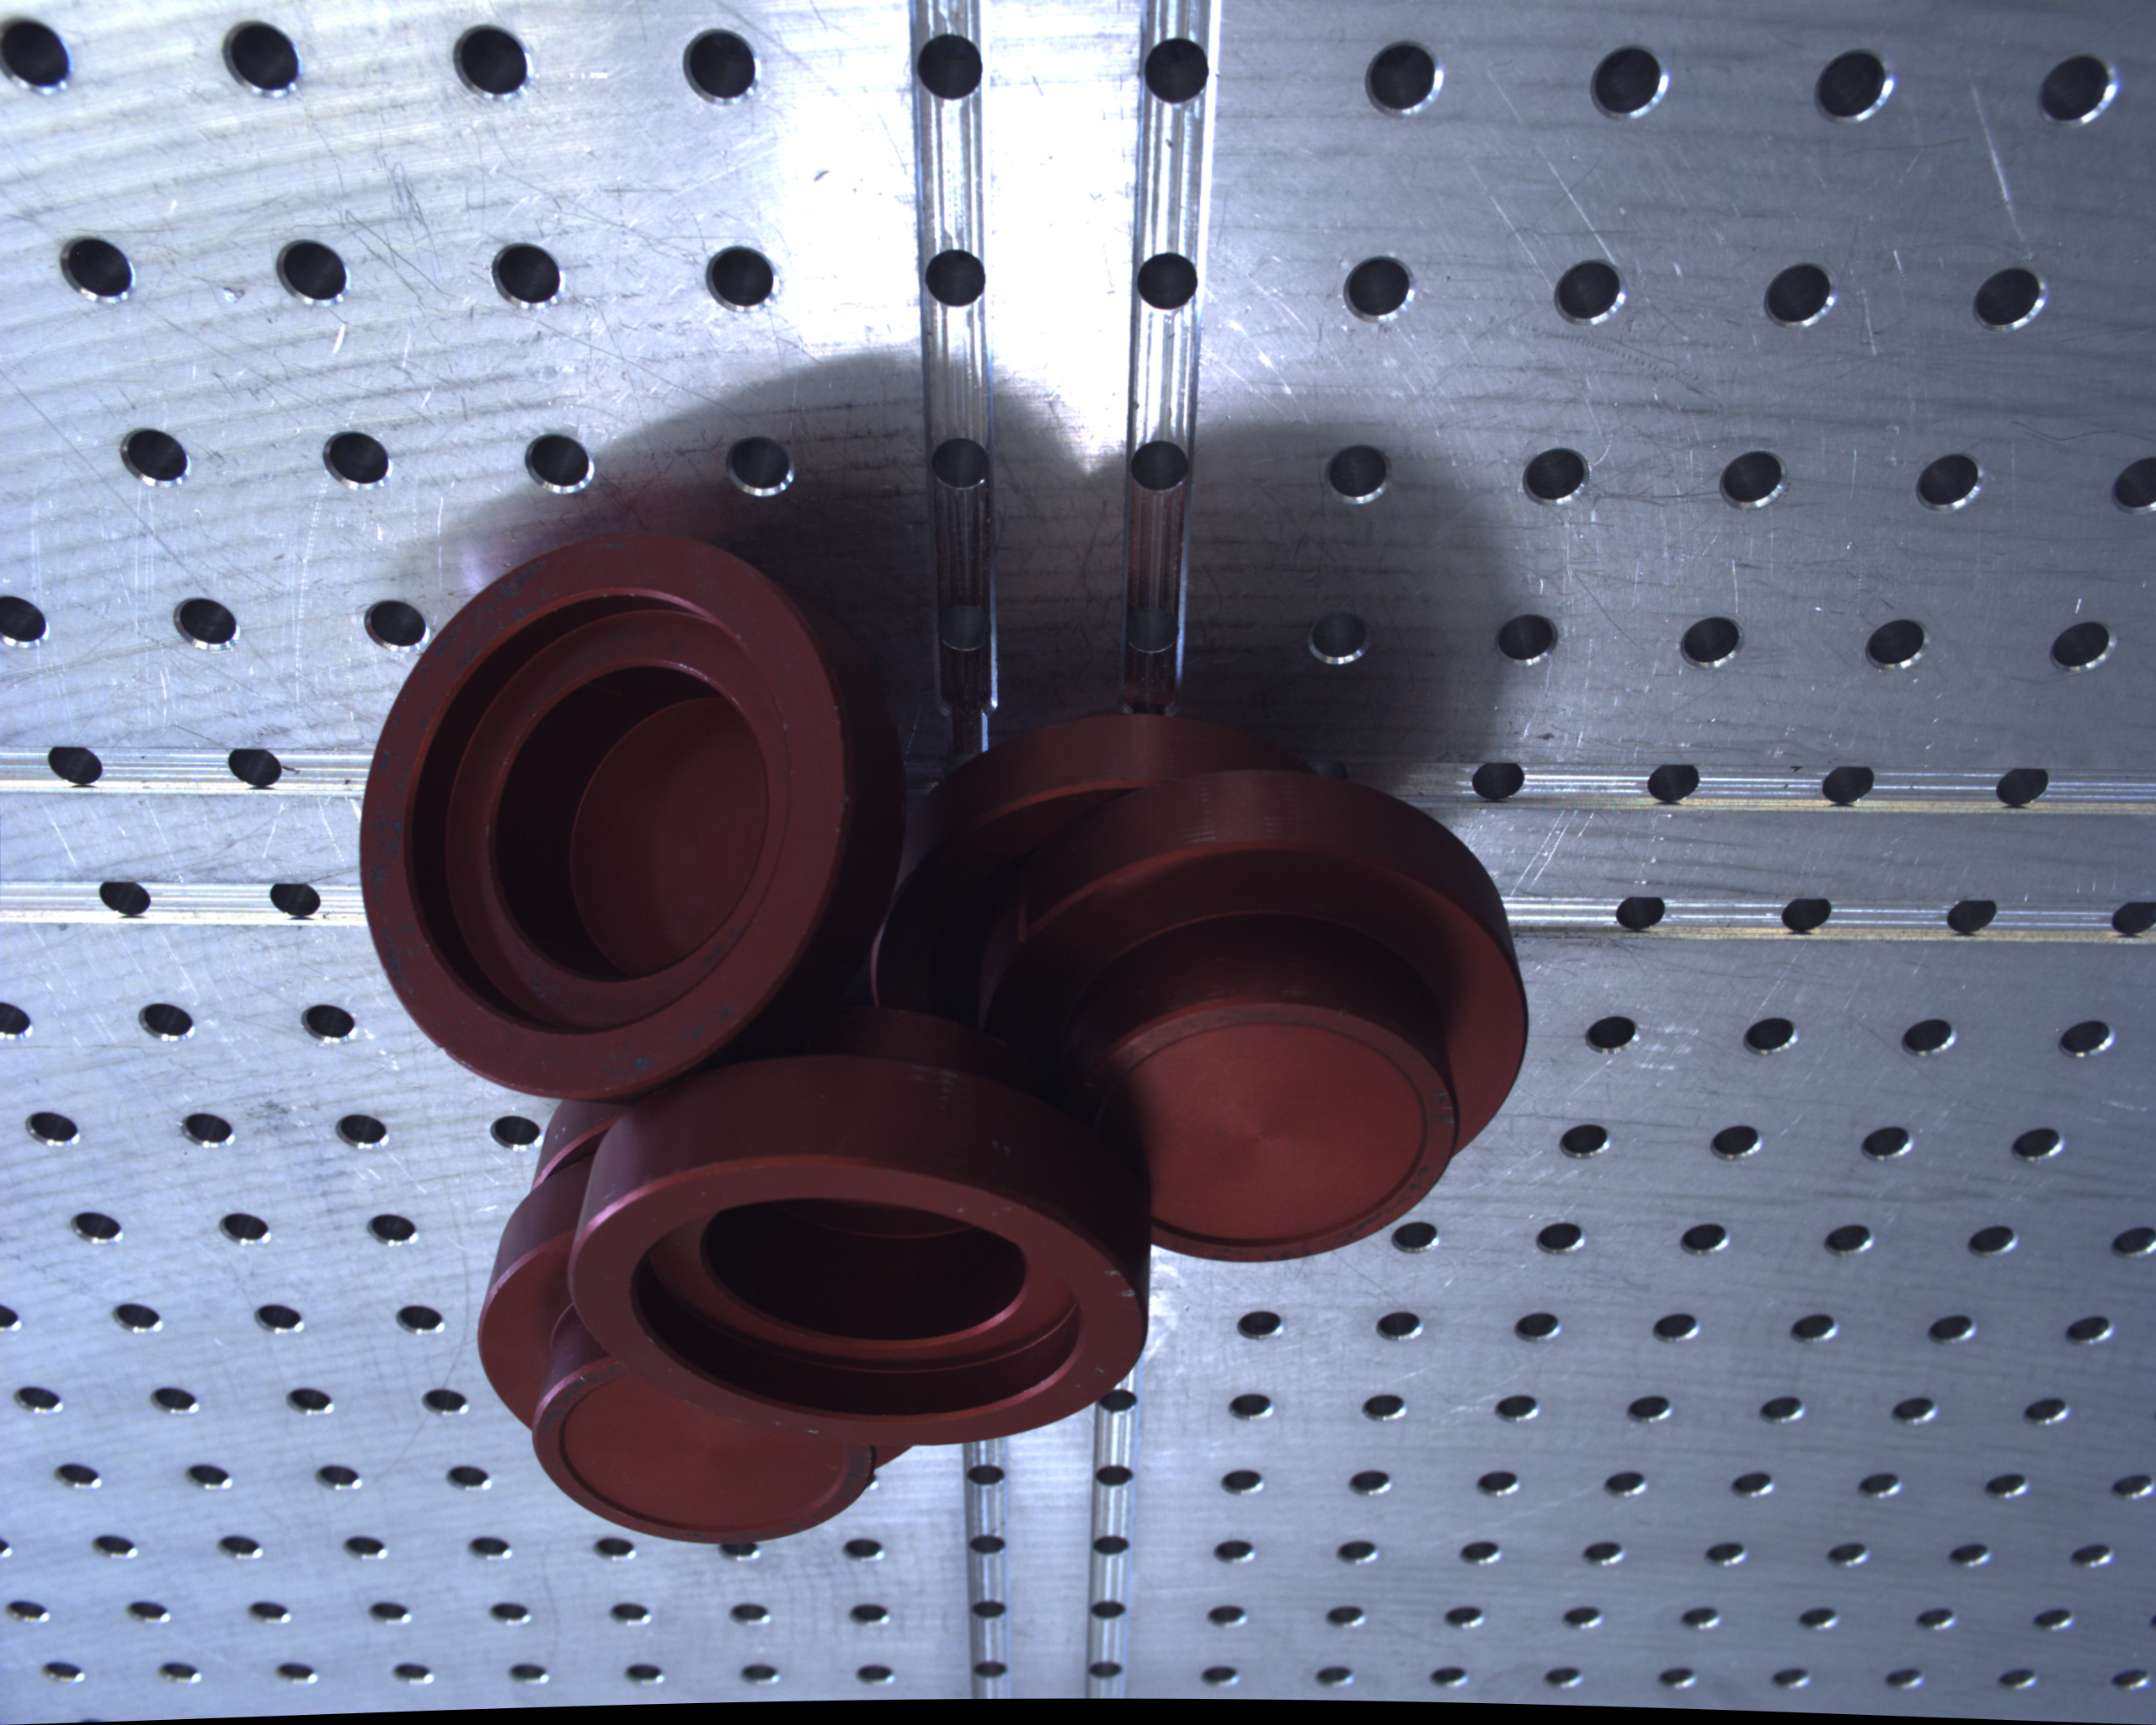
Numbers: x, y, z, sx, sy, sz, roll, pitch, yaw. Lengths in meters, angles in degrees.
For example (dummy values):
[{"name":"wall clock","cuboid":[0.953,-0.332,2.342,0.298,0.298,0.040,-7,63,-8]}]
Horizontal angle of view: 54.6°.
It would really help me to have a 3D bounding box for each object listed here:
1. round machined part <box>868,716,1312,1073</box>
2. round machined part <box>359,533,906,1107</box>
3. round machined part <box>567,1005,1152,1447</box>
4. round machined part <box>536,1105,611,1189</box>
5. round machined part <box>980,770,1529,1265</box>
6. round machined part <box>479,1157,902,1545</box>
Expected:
[{"name":"round machined part","cuboid":[0.010,0.023,0.393,0.099,0.042,0.097,0,130,0]},{"name":"round machined part","cuboid":[-0.074,-0.005,0.370,0.098,0.098,0.042,-22,162,17]},{"name":"round machined part","cuboid":[-0.036,0.062,0.368,0.098,0.042,0.098,2,138,2]},{"name":"round machined part","cuboid":[-0.067,0.083,0.443,0.099,0.042,0.097,0,130,0]},{"name":"round machined part","cuboid":[0.031,0.034,0.373,0.099,0.042,0.097,0,130,0]},{"name":"round machined part","cuboid":[-0.074,0.105,0.433,0.099,0.042,0.097,0,130,0]}]
